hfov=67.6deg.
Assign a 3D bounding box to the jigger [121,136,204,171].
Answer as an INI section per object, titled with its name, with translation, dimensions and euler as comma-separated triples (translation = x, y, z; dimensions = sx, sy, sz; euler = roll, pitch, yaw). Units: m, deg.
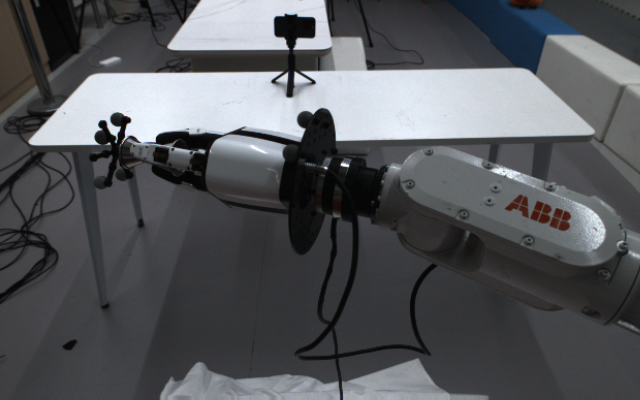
[jigger]
translation = -0.192, -0.056, 0.572
dimensions = 0.071, 0.043, 0.043
euler = 7, 35, 13
